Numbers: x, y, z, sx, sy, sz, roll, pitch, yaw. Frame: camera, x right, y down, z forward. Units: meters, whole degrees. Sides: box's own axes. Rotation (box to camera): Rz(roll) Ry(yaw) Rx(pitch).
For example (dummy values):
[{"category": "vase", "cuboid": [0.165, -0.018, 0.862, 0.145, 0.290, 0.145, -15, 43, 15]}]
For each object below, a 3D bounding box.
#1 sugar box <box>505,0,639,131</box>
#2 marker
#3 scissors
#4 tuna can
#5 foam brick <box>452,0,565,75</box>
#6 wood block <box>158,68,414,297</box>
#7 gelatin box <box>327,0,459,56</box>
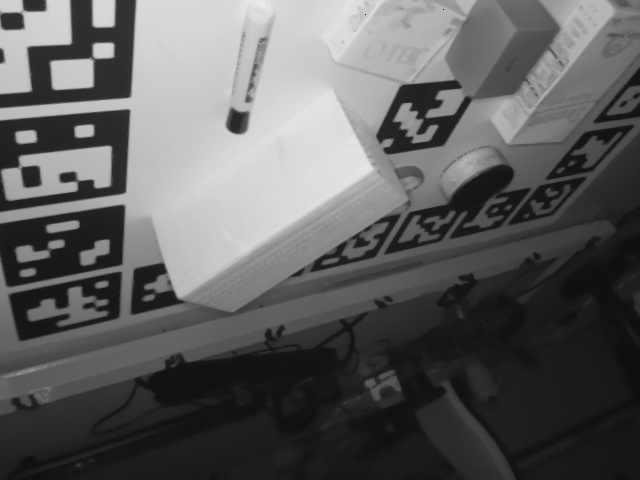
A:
[{"category": "sugar box", "cuboid": [0.270, -0.187, 0.696, 0.094, 0.045, 0.174, -8, 145, -28]}, {"category": "marker", "cuboid": [-0.047, -0.145, 0.530, 0.020, 0.019, 0.119, -10, 144, -26]}, {"category": "scissors", "cuboid": [0.044, -0.055, 0.747, 0.206, 0.016, 0.086, -8, 145, -33]}, {"category": "tuna can", "cuboid": [0.206, -0.081, 0.811, 0.086, 0.034, 0.085, -20, 149, -12]}, {"category": "foam brick", "cuboid": [0.158, -0.187, 0.591, 0.053, 0.051, 0.077, -10, 145, -27]}, {"category": "wood block", "cuboid": [-0.033, -0.047, 0.632, 0.204, 0.091, 0.090, -35, 150, 14]}, {"category": "gelatin box", "cuboid": [0.061, -0.186, 0.546, 0.091, 0.030, 0.072, 2, 138, -41]}]
